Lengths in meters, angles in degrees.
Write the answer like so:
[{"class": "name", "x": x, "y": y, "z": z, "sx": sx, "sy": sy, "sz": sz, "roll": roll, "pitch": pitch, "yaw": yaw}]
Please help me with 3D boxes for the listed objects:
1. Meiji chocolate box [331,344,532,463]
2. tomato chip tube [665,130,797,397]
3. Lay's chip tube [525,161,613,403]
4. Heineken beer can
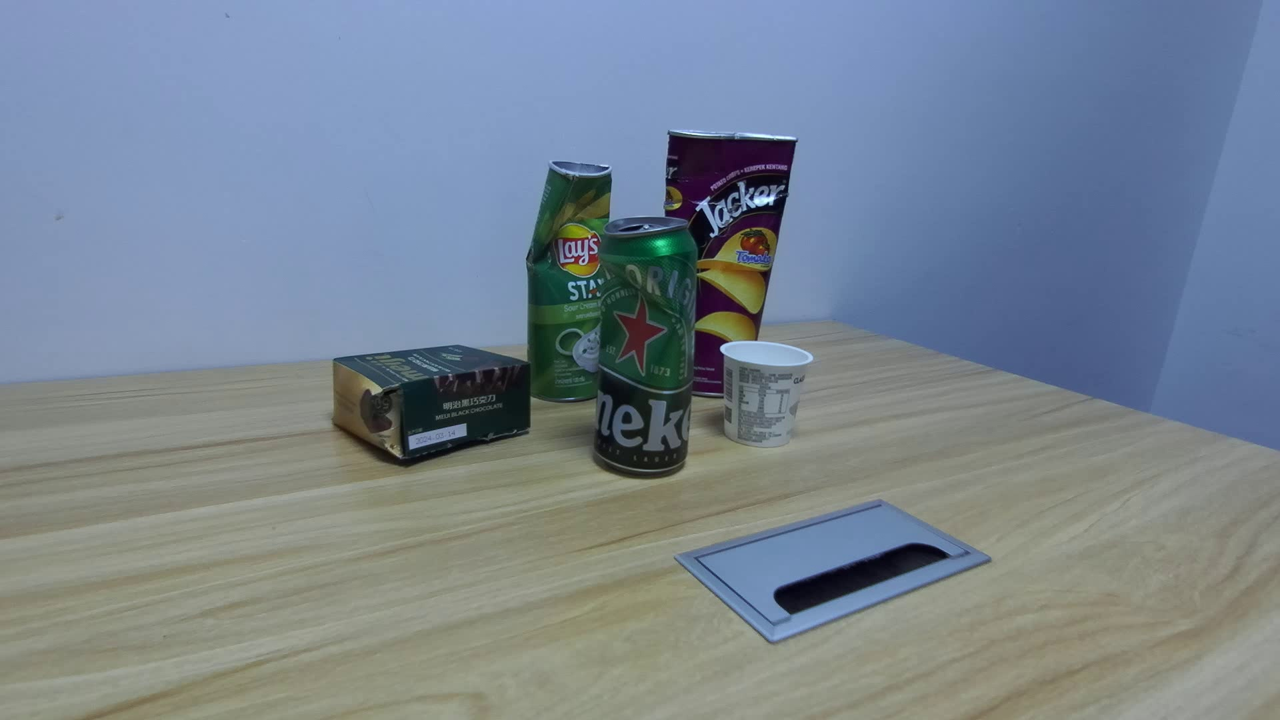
[{"class": "Meiji chocolate box", "x": -0.157, "y": 0.027, "z": 0.532, "sx": 0.115, "sy": 0.058, "sz": 0.123, "roll": 14, "pitch": 17, "yaw": 43}, {"class": "tomato chip tube", "x": 0.070, "y": -0.085, "z": 0.642, "sx": 0.089, "sy": 0.235, "sz": 0.078, "roll": 16, "pitch": 18, "yaw": 36}, {"class": "Lay's chip tube", "x": -0.060, "y": -0.067, "z": 0.613, "sx": 0.069, "sy": 0.201, "sz": 0.077, "roll": 3, "pitch": 17, "yaw": -2}, {"class": "Heineken beer can", "x": 0.003, "y": -0.007, "z": 0.475, "sx": 0.069, "sy": 0.168, "sz": 0.068, "roll": 3, "pitch": 14, "yaw": 9}]
